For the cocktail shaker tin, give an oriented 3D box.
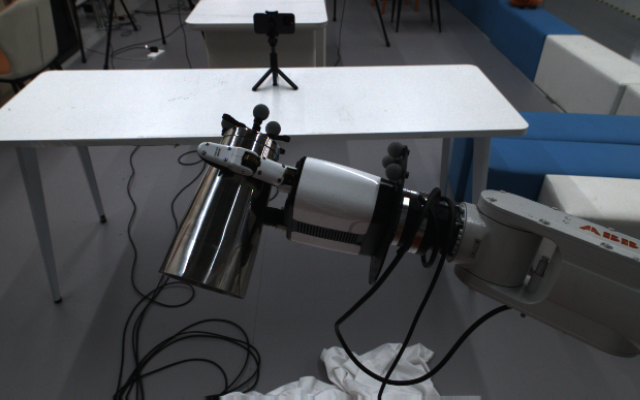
[{"bbox_3d":[-0.098,0.009,0.526,0.093,0.093,0.170,12,72,14],"label":"cocktail shaker tin"}]
